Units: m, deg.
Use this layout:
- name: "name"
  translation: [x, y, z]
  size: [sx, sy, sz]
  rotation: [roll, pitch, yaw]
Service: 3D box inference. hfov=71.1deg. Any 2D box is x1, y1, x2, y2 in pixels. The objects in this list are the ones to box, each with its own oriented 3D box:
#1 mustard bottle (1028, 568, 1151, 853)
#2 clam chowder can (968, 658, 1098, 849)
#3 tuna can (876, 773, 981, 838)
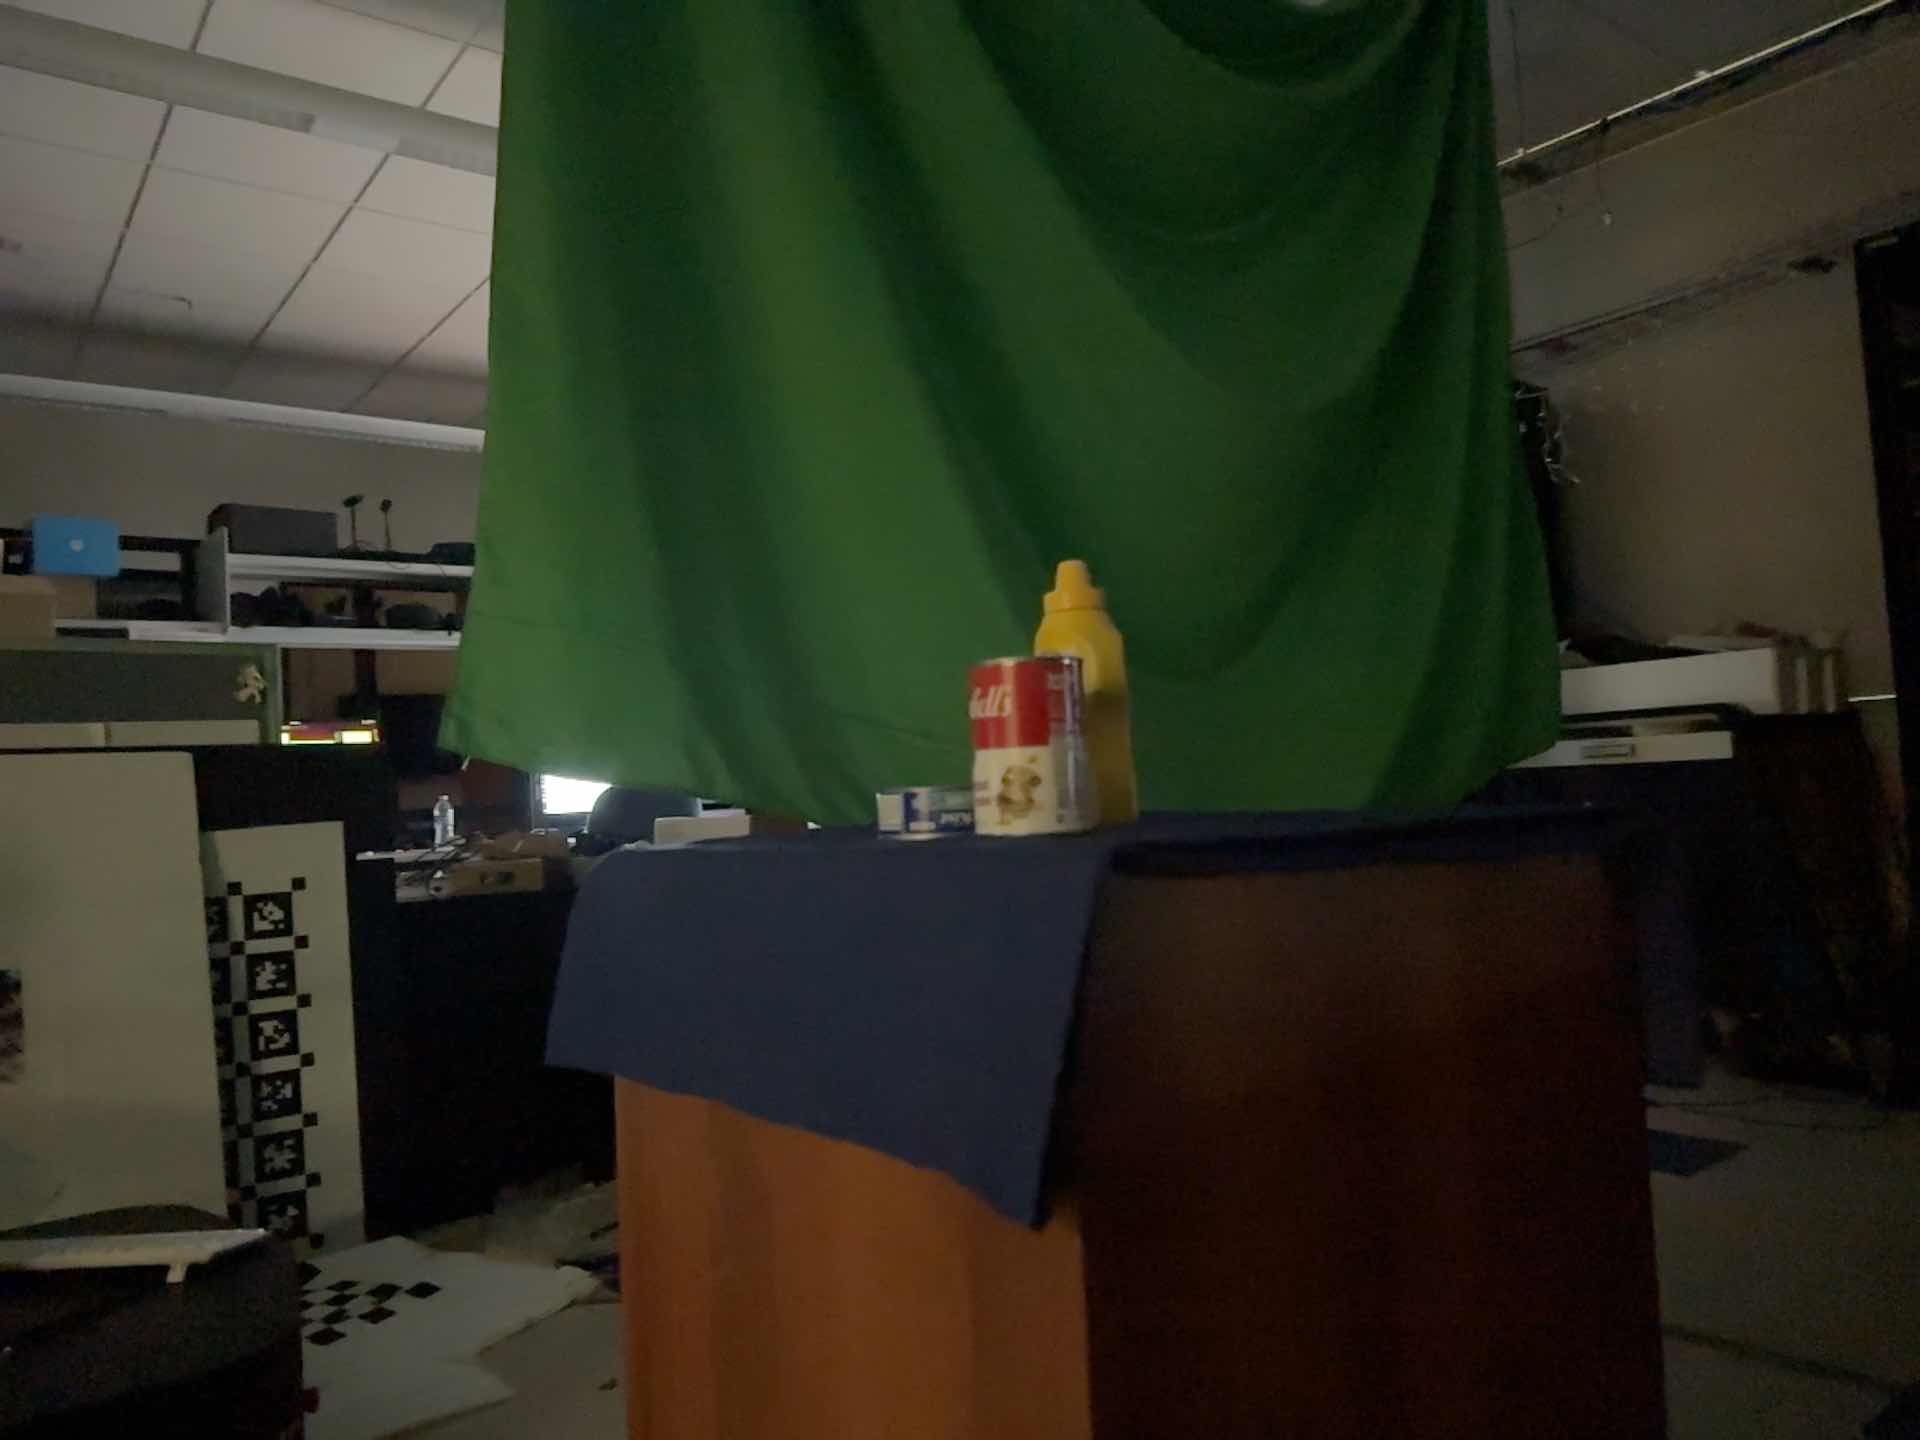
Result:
- name: "mustard bottle"
  translation: [0.079, -0.008, 0.879]
  size: [0.054, 0.184, 0.092]
  rotation: [-6, 0, -22]
- name: "clam chowder can"
  translation: [0.042, 0.018, 0.764]
  size: [0.068, 0.102, 0.068]
  rotation: [-5, 0, 0]
- name: "tuna can"
  translation: [-0.012, 0.054, 0.870]
  size: [0.083, 0.034, 0.083]
  rotation: [-5, 0, 0]
